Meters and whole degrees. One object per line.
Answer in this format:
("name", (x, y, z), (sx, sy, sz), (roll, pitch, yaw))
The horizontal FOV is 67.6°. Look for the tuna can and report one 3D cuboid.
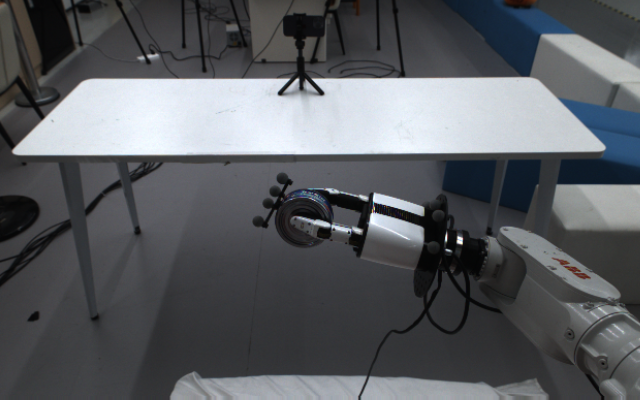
("tuna can", (-0.020, 0.031, 0.725), (0.085, 0.085, 0.034), (3, 21, 1))
